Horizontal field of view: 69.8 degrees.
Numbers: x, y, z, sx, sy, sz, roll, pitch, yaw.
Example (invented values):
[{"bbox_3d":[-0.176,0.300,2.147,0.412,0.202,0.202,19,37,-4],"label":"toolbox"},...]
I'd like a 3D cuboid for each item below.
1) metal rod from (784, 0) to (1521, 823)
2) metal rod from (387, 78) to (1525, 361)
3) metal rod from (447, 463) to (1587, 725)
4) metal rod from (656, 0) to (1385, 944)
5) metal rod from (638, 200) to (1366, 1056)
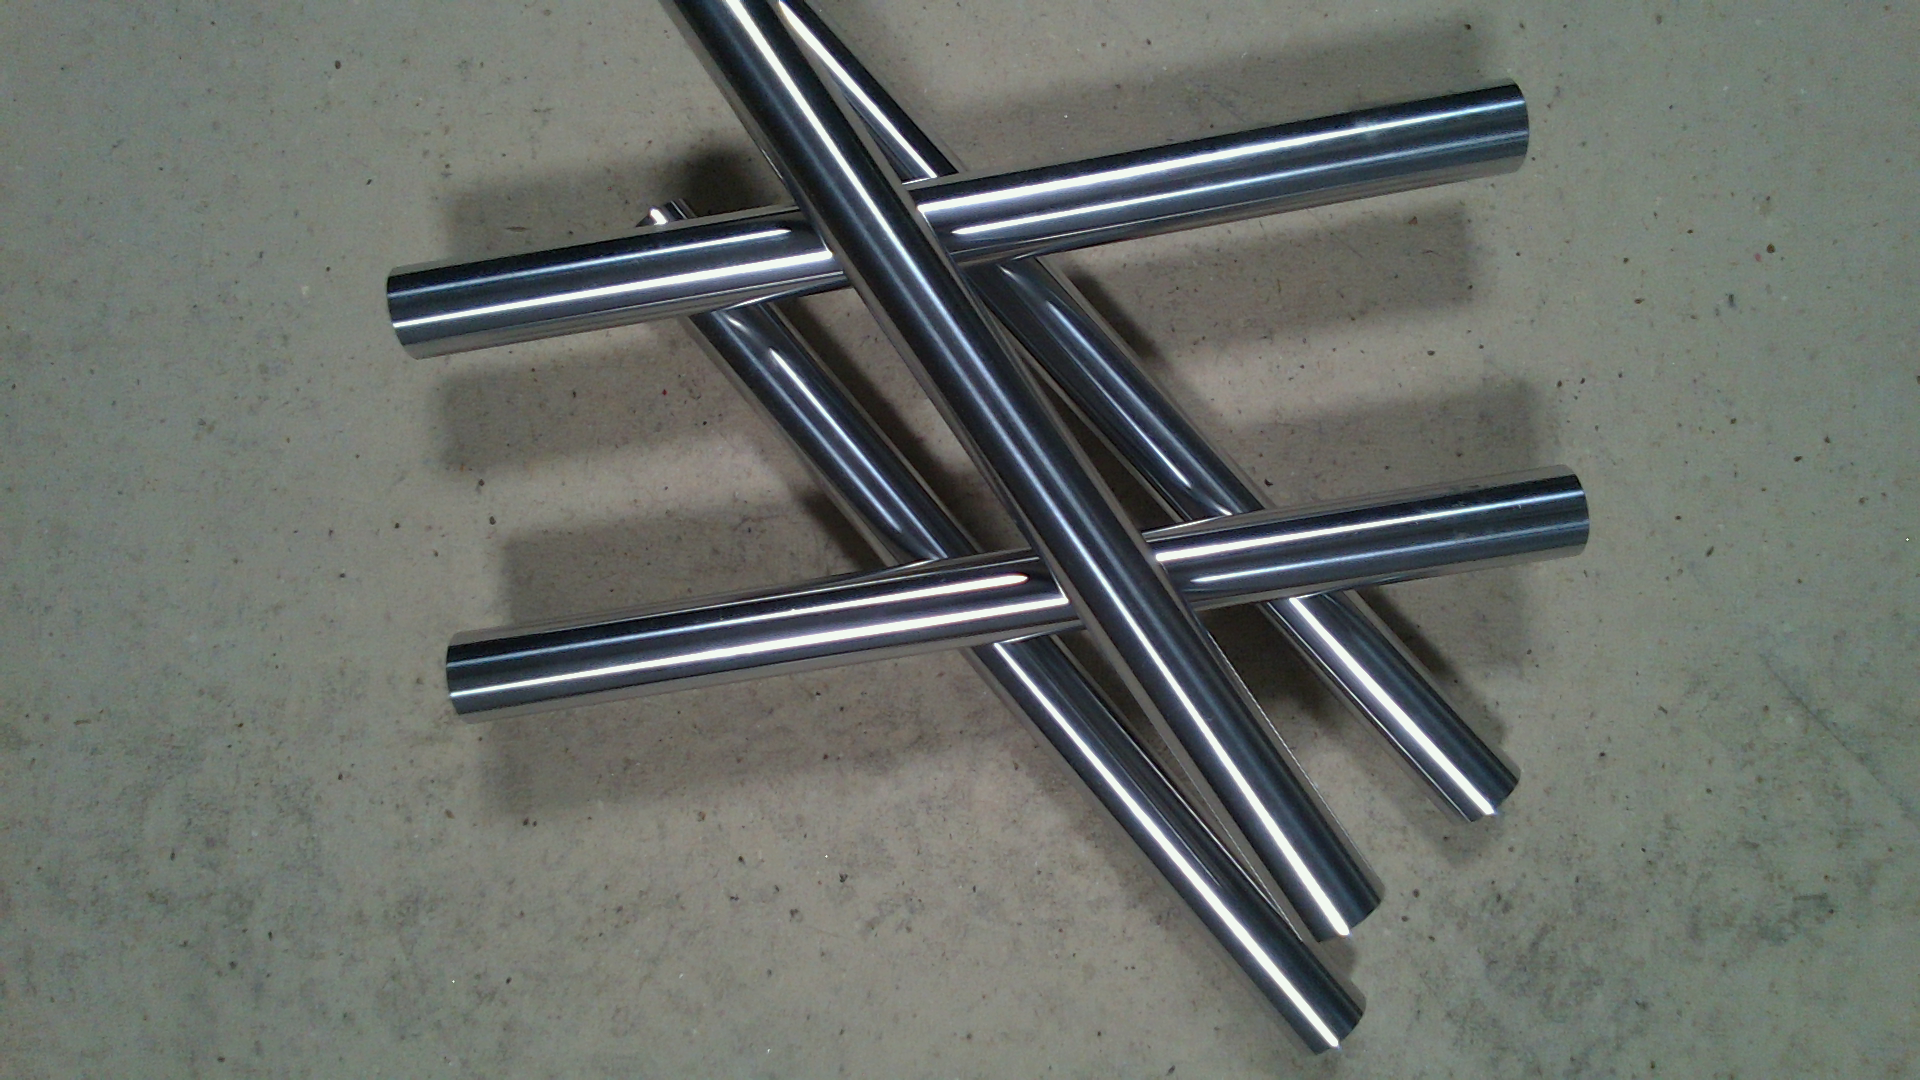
[{"bbox_3d":[0.049,-0.038,0.395,0.025,0.025,0.300,-43,90,0],"label":"metal rod"},{"bbox_3d":[-0.001,-0.086,0.370,0.300,0.025,0.025,-10,90,0],"label":"metal rod"},{"bbox_3d":[0.015,0.014,0.371,0.300,0.025,0.025,-9,90,0],"label":"metal rod"},{"bbox_3d":[0.011,-0.030,0.346,0.025,0.025,0.300,-34,91,0],"label":"metal rod"},{"bbox_3d":[0.009,0.025,0.395,0.025,0.025,0.300,-41,90,0],"label":"metal rod"}]
